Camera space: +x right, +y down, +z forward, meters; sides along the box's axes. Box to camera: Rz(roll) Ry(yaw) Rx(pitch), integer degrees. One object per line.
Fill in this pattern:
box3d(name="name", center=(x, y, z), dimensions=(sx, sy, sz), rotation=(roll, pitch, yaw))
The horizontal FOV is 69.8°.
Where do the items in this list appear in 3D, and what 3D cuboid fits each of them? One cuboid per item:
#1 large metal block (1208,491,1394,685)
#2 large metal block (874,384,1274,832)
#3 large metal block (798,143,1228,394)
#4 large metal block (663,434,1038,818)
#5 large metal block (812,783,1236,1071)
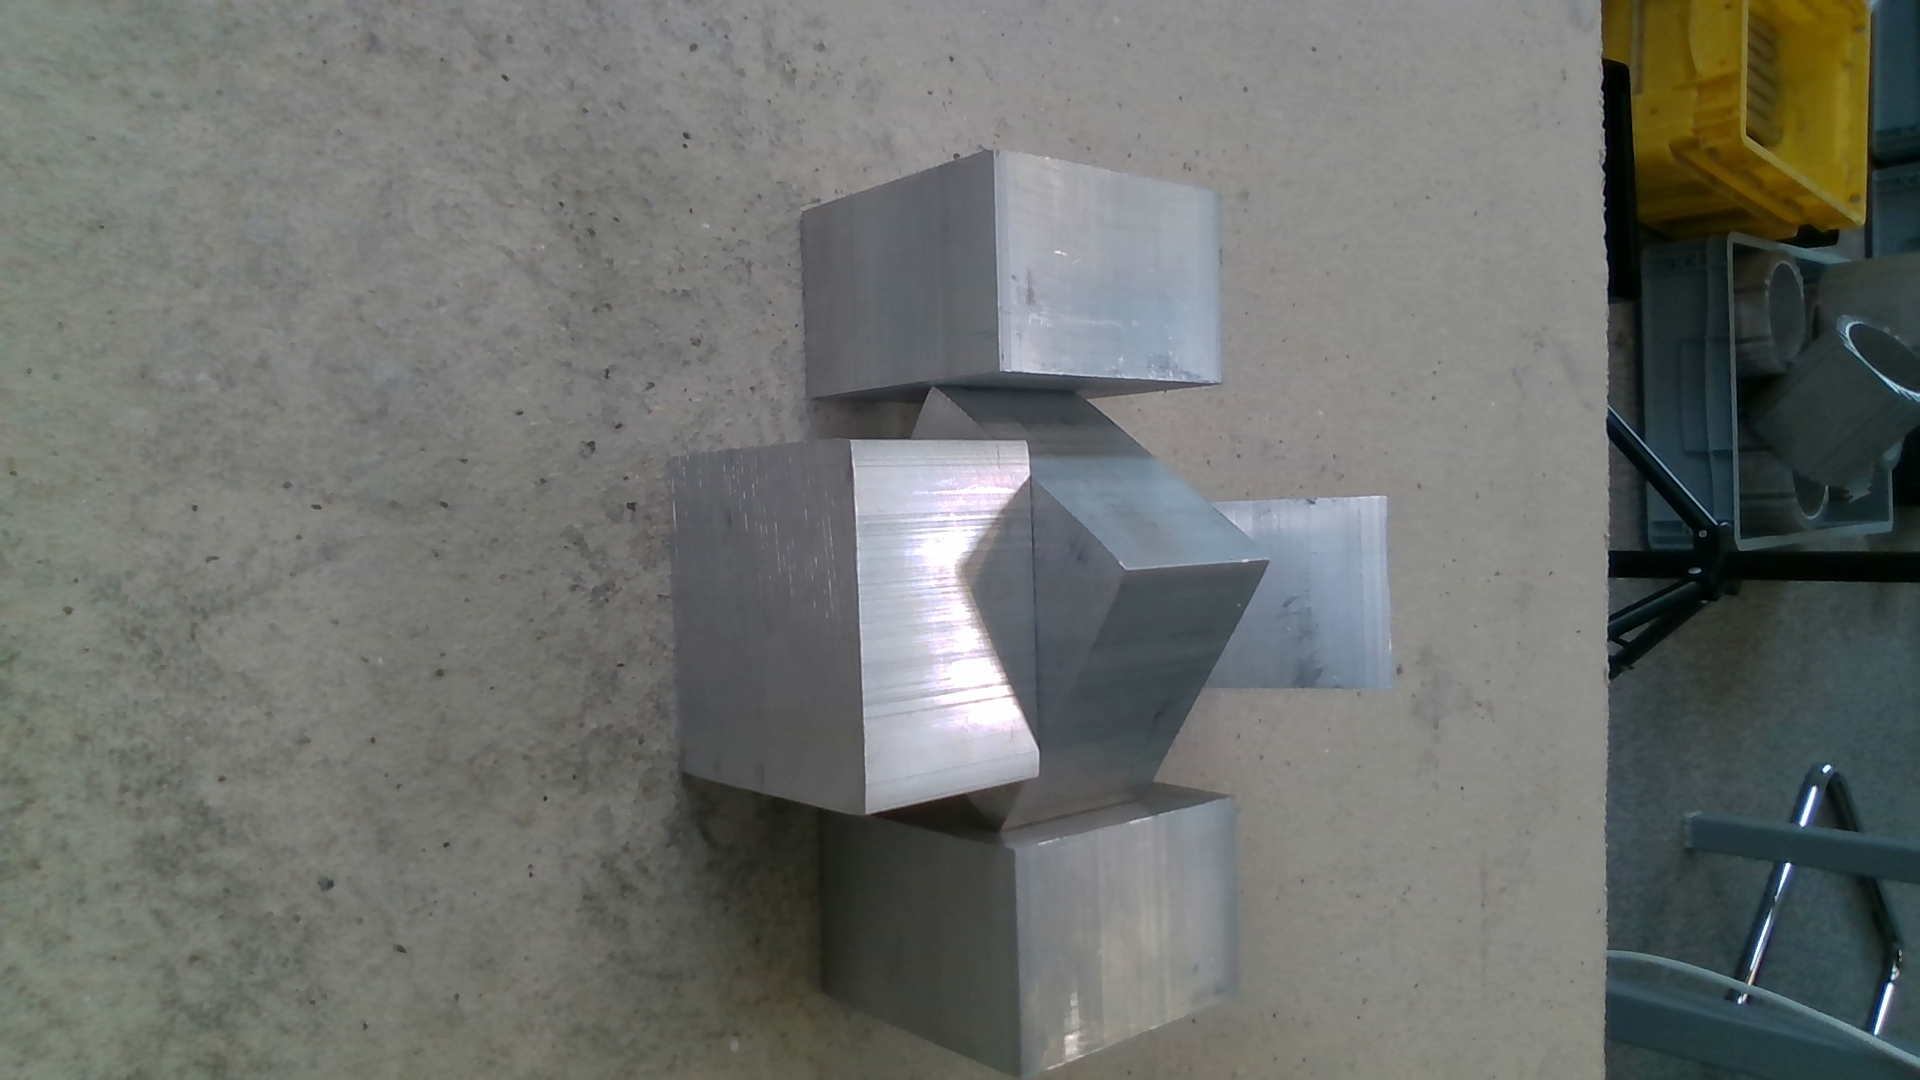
box3d(name="large metal block", center=(0.081, 0.012, 0.405), dimensions=(0.080, 0.080, 0.050), rotation=(-10, 98, -77))
box3d(name="large metal block", center=(0.020, 0.015, 0.353), dimensions=(0.050, 0.080, 0.080), rotation=(-3, 127, -41))
box3d(name="large metal block", center=(0.014, -0.066, 0.365), dimensions=(0.080, 0.080, 0.050), rotation=(-3, 92, -40))
box3d(name="large metal block", center=(-0.028, 0.017, 0.332), dimensions=(0.050, 0.080, 0.080), rotation=(-4, 92, -40))
box3d(name="large metal block", center=(0.017, 0.094, 0.370), dimensions=(0.080, 0.080, 0.050), rotation=(-3, 93, -41))
